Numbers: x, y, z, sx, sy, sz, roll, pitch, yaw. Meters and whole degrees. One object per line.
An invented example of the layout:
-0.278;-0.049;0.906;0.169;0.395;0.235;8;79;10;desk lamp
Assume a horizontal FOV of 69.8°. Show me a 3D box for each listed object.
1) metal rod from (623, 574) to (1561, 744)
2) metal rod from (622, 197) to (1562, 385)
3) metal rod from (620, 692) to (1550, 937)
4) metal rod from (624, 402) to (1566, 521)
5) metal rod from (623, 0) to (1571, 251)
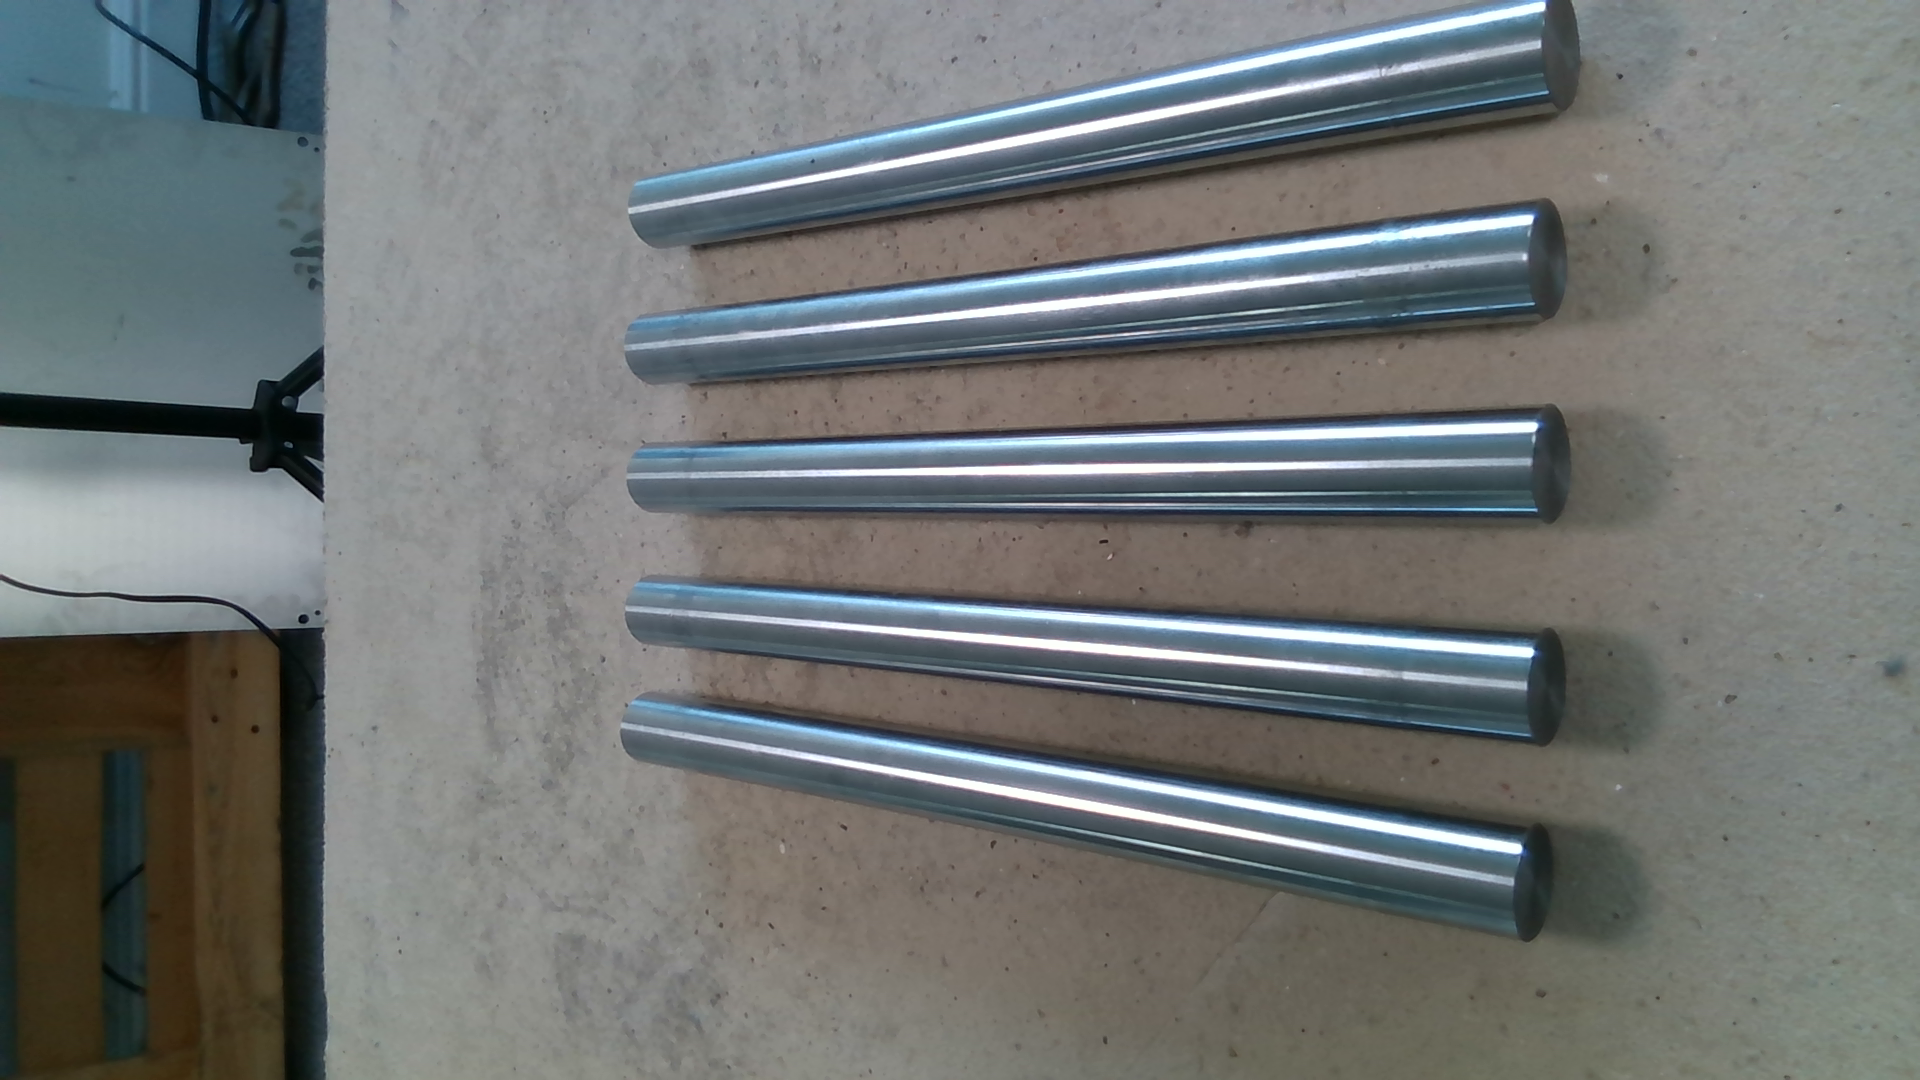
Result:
0.007;0.027;0.385;0.300;0.025;0.025;2;91;40;metal rod
0.007;-0.063;0.384;0.300;0.025;0.025;2;92;40;metal rod
0.006;0.068;0.387;0.300;0.025;0.025;2;91;40;metal rod
0.008;-0.019;0.384;0.300;0.025;0.025;2;91;40;metal rod
0.008;-0.107;0.381;0.300;0.025;0.025;3;92;40;metal rod
